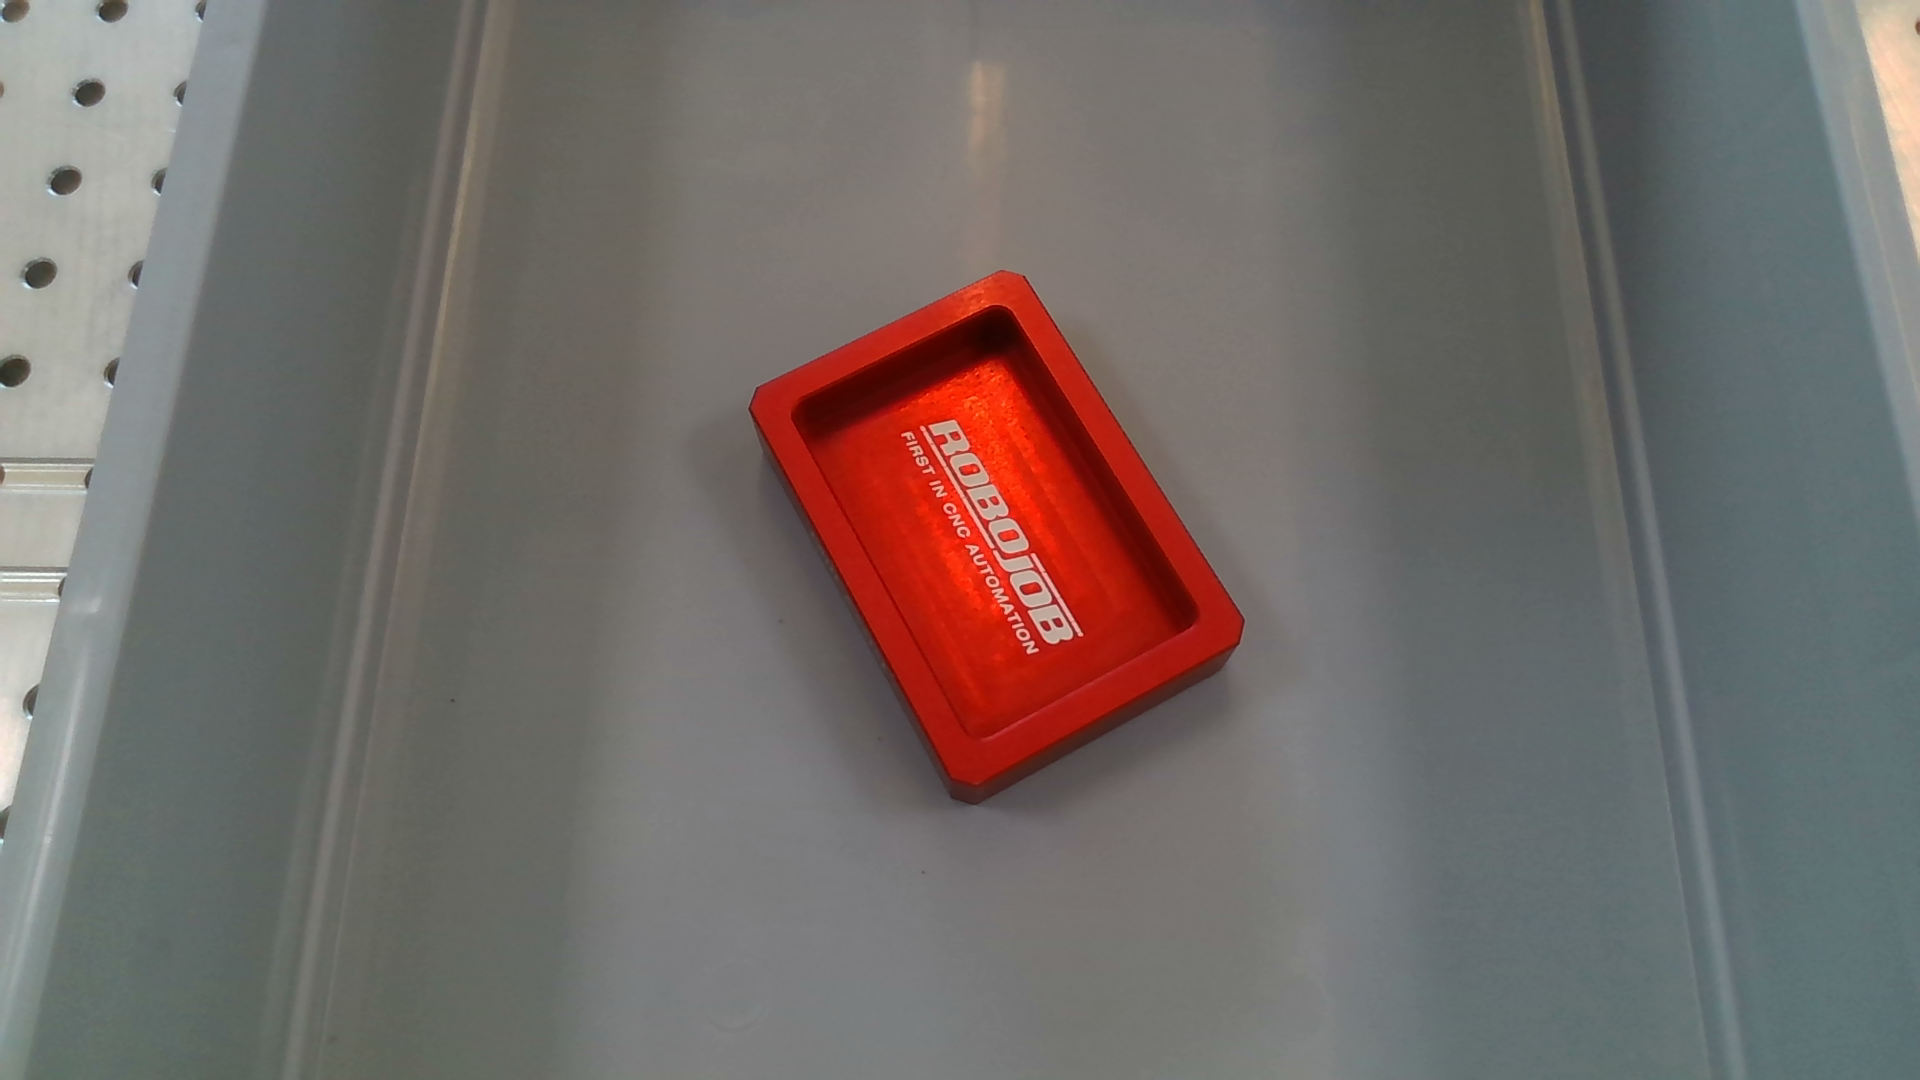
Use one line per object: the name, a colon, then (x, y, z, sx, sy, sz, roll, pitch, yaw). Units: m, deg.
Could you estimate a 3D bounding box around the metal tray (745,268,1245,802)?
metal tray: (0.008, -0.003, 0.391, 0.090, 0.030, 0.130, -27, 73, -9)
